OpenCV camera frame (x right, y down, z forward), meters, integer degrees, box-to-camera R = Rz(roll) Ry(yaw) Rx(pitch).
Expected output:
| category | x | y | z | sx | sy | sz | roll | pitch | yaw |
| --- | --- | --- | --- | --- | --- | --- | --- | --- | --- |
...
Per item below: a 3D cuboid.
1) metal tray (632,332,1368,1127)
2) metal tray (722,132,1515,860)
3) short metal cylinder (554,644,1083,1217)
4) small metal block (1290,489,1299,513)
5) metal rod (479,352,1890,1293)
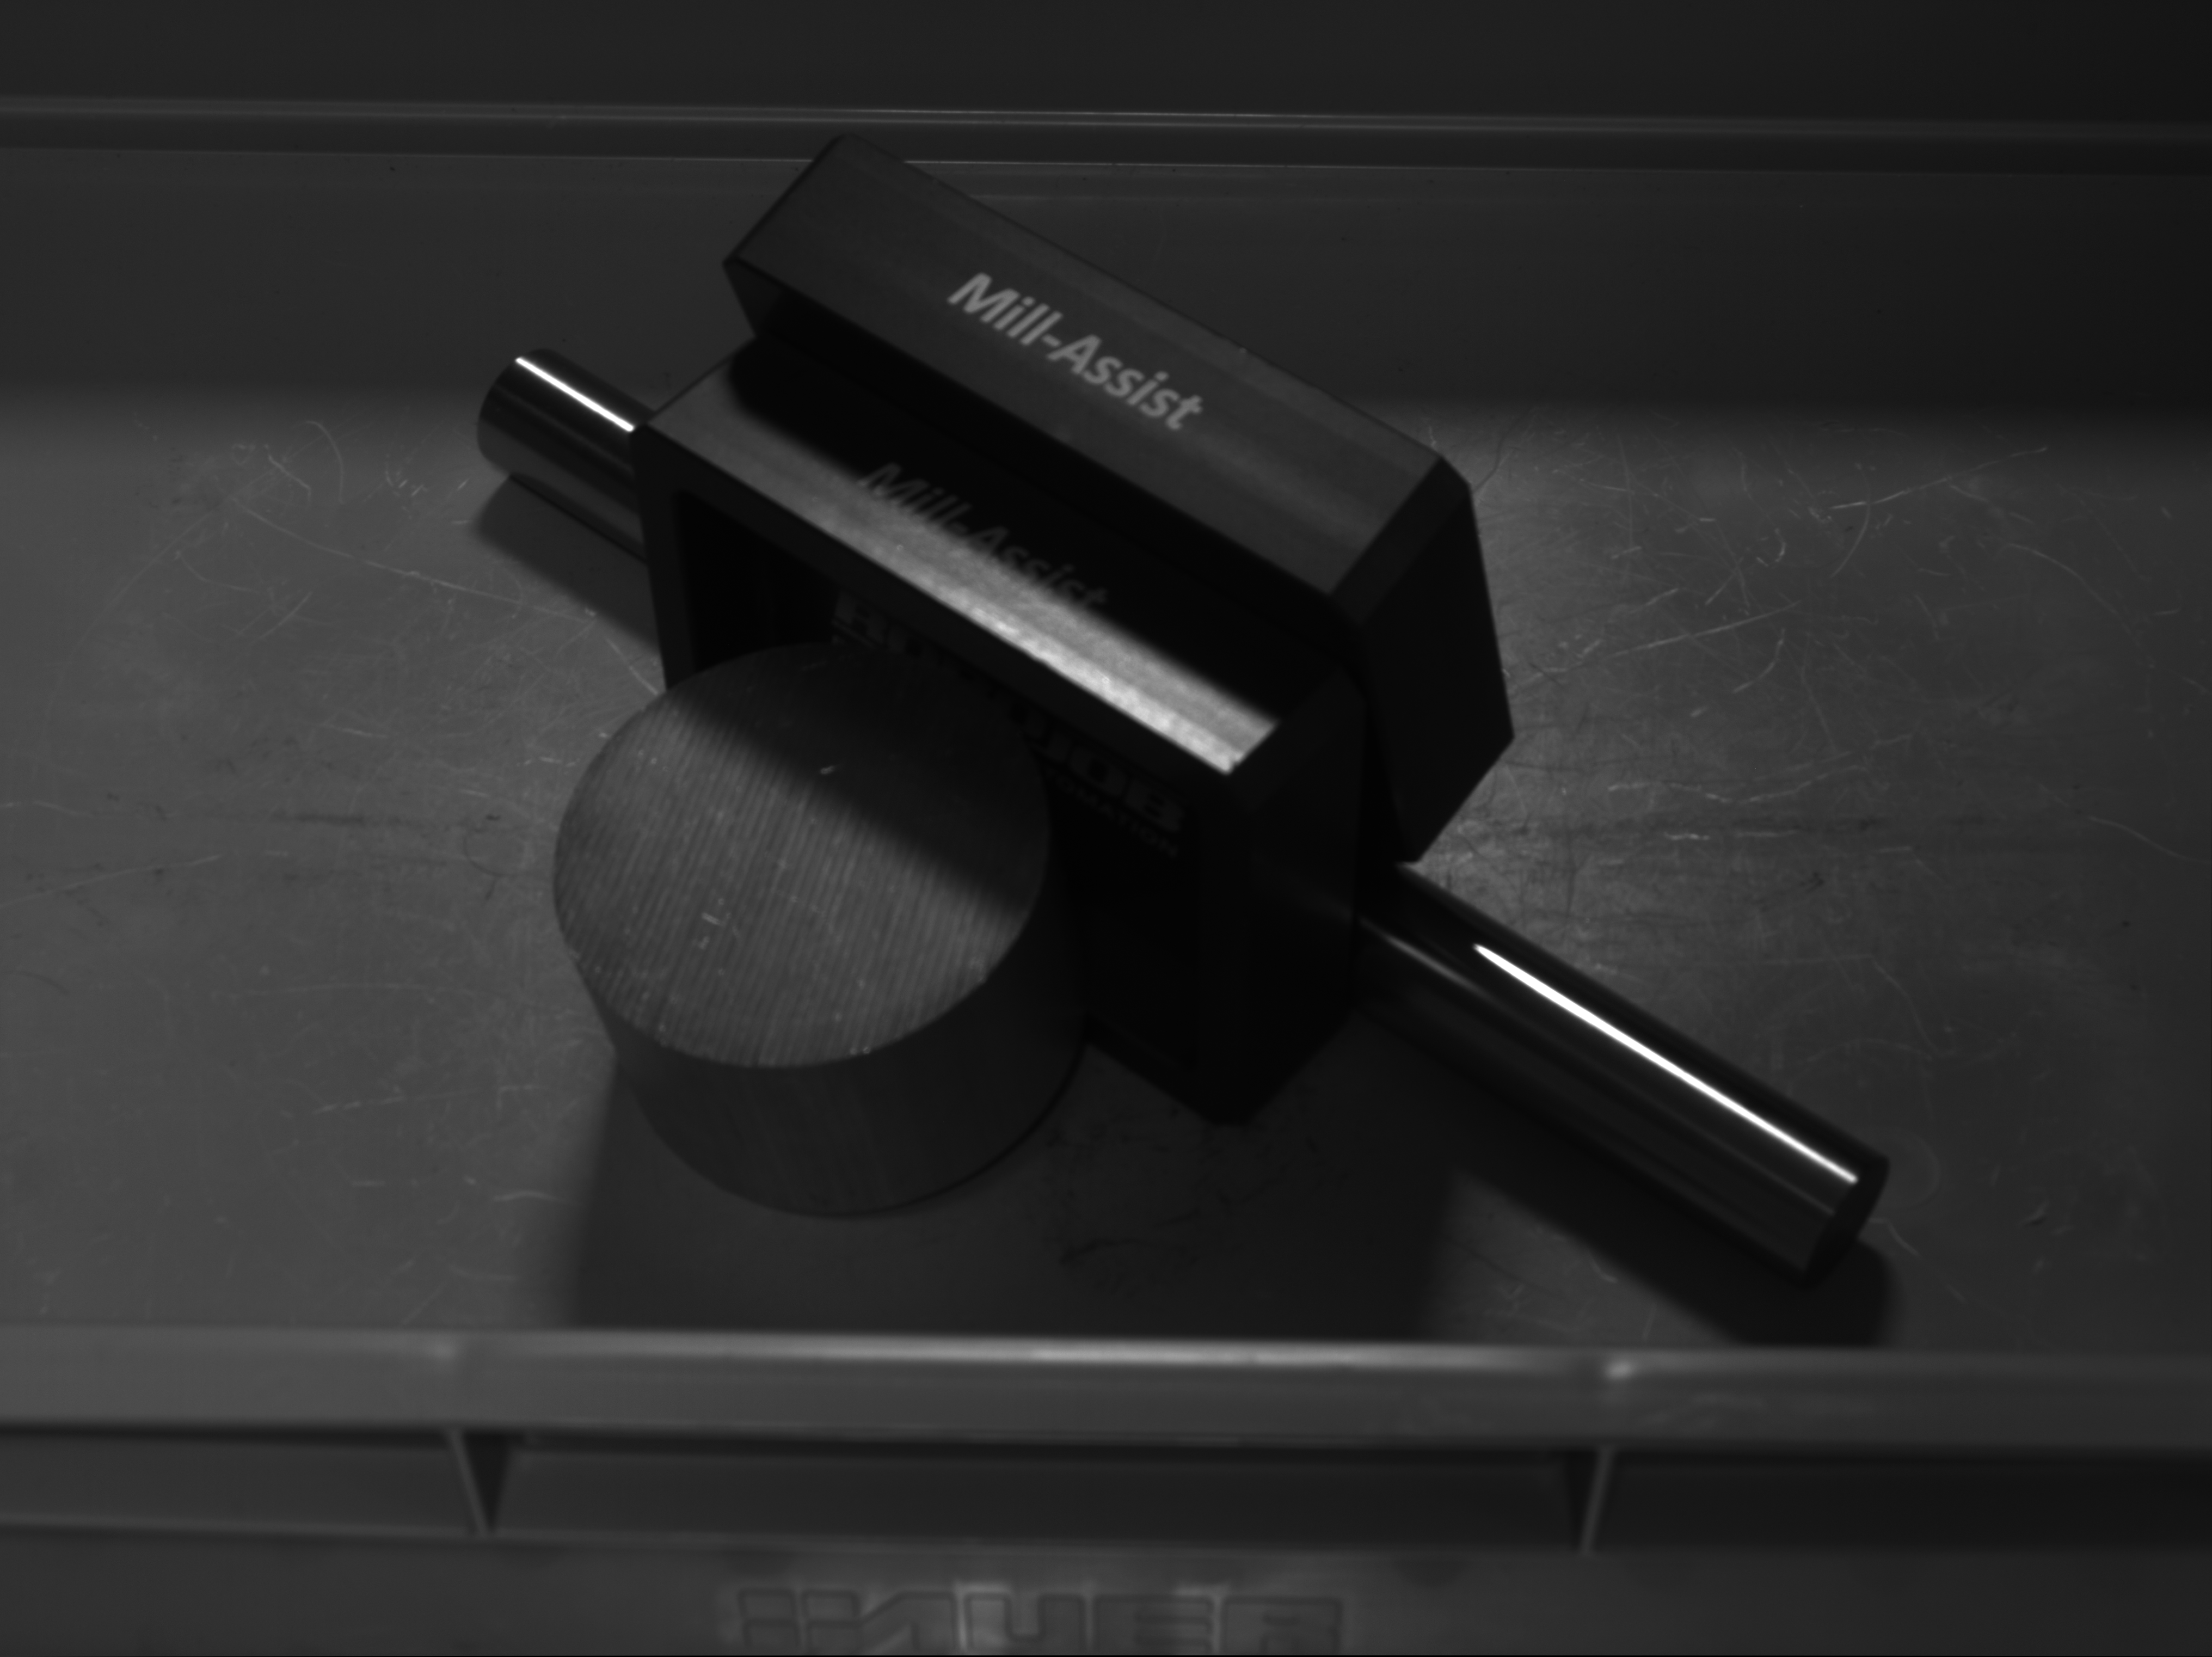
| category | x | y | z | sx | sy | sz | roll | pitch | yaw |
| --- | --- | --- | --- | --- | --- | --- | --- | --- | --- |
| metal tray | -0.019 | -0.016 | 0.612 | 0.130 | 0.090 | 0.030 | 32 | 57 | 24 |
| metal tray | 0.003 | -0.055 | 0.611 | 0.130 | 0.090 | 0.030 | 32 | 74 | 24 |
| short metal cylinder | -0.046 | 0.017 | 0.603 | 0.080 | 0.050 | 0.080 | -3 | 57 | 5 |
| small metal block | 0.025 | -0.037 | 0.672 | 0.050 | 0.025 | 0.050 | 33 | 57 | 25 |
| metal rod | 0.003 | -0.009 | 0.650 | 0.299 | 0.025 | 0.025 | 32 | 57 | 24 |
